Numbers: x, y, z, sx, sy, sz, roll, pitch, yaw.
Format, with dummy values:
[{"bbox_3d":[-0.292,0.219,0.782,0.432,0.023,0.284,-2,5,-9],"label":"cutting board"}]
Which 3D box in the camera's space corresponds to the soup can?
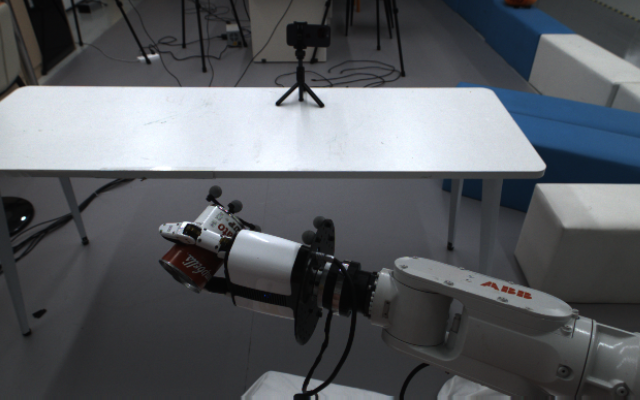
[{"bbox_3d":[-0.154,0.064,0.643,0.067,0.067,0.101,23,60,27],"label":"soup can"}]
